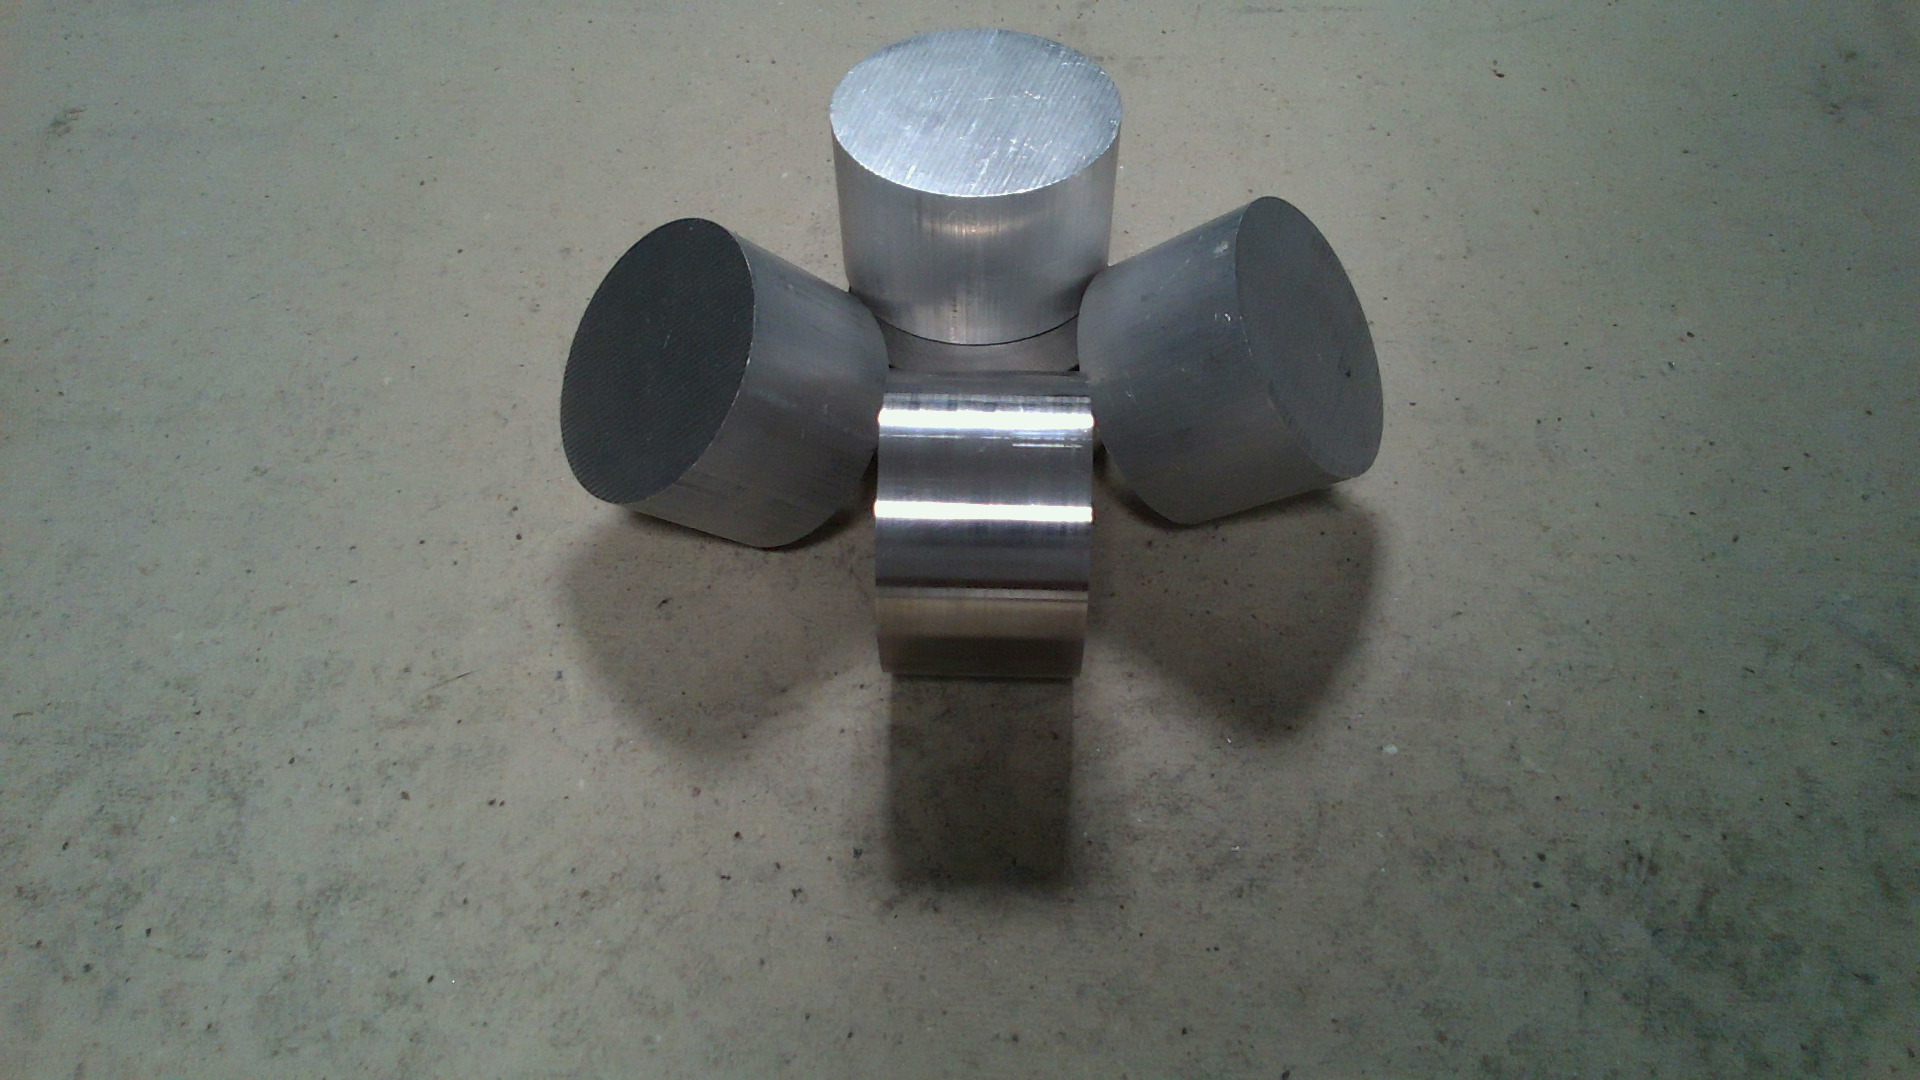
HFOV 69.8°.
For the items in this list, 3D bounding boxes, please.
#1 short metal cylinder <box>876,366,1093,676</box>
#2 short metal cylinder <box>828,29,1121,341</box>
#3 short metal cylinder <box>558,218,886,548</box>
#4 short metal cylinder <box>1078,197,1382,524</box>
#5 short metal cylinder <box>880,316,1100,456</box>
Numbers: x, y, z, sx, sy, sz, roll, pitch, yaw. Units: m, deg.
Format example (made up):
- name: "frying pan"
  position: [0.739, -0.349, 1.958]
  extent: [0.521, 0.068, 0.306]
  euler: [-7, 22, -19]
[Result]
- name: "short metal cylinder"
  position: [0.007, -0.005, 0.358]
  extent: [0.050, 0.080, 0.080]
  euler: [1, 50, 1]
- name: "short metal cylinder"
  position: [0.004, -0.103, 0.396]
  extent: [0.080, 0.050, 0.080]
  euler: [0, 50, 0]
- name: "short metal cylinder"
  position: [-0.067, -0.042, 0.385]
  extent: [0.080, 0.050, 0.080]
  euler: [-14, 68, 37]
- name: "short metal cylinder"
  position: [0.078, -0.049, 0.390]
  extent: [0.050, 0.080, 0.080]
  euler: [-18, 38, 38]
- name: "short metal cylinder"
  position: [0.007, -0.056, 0.423]
  extent: [0.080, 0.050, 0.080]
  euler: [0, 50, 0]
